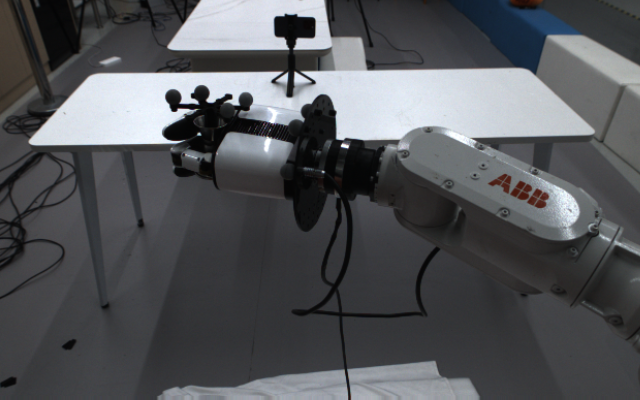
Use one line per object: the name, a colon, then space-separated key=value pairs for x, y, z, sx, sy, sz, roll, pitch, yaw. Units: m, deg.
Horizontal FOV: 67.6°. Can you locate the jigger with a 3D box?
jigger: x=-0.127 y=-0.065 z=0.591 sx=0.043 sy=0.071 sz=0.043 roll=4 pitch=31 yaw=-2
